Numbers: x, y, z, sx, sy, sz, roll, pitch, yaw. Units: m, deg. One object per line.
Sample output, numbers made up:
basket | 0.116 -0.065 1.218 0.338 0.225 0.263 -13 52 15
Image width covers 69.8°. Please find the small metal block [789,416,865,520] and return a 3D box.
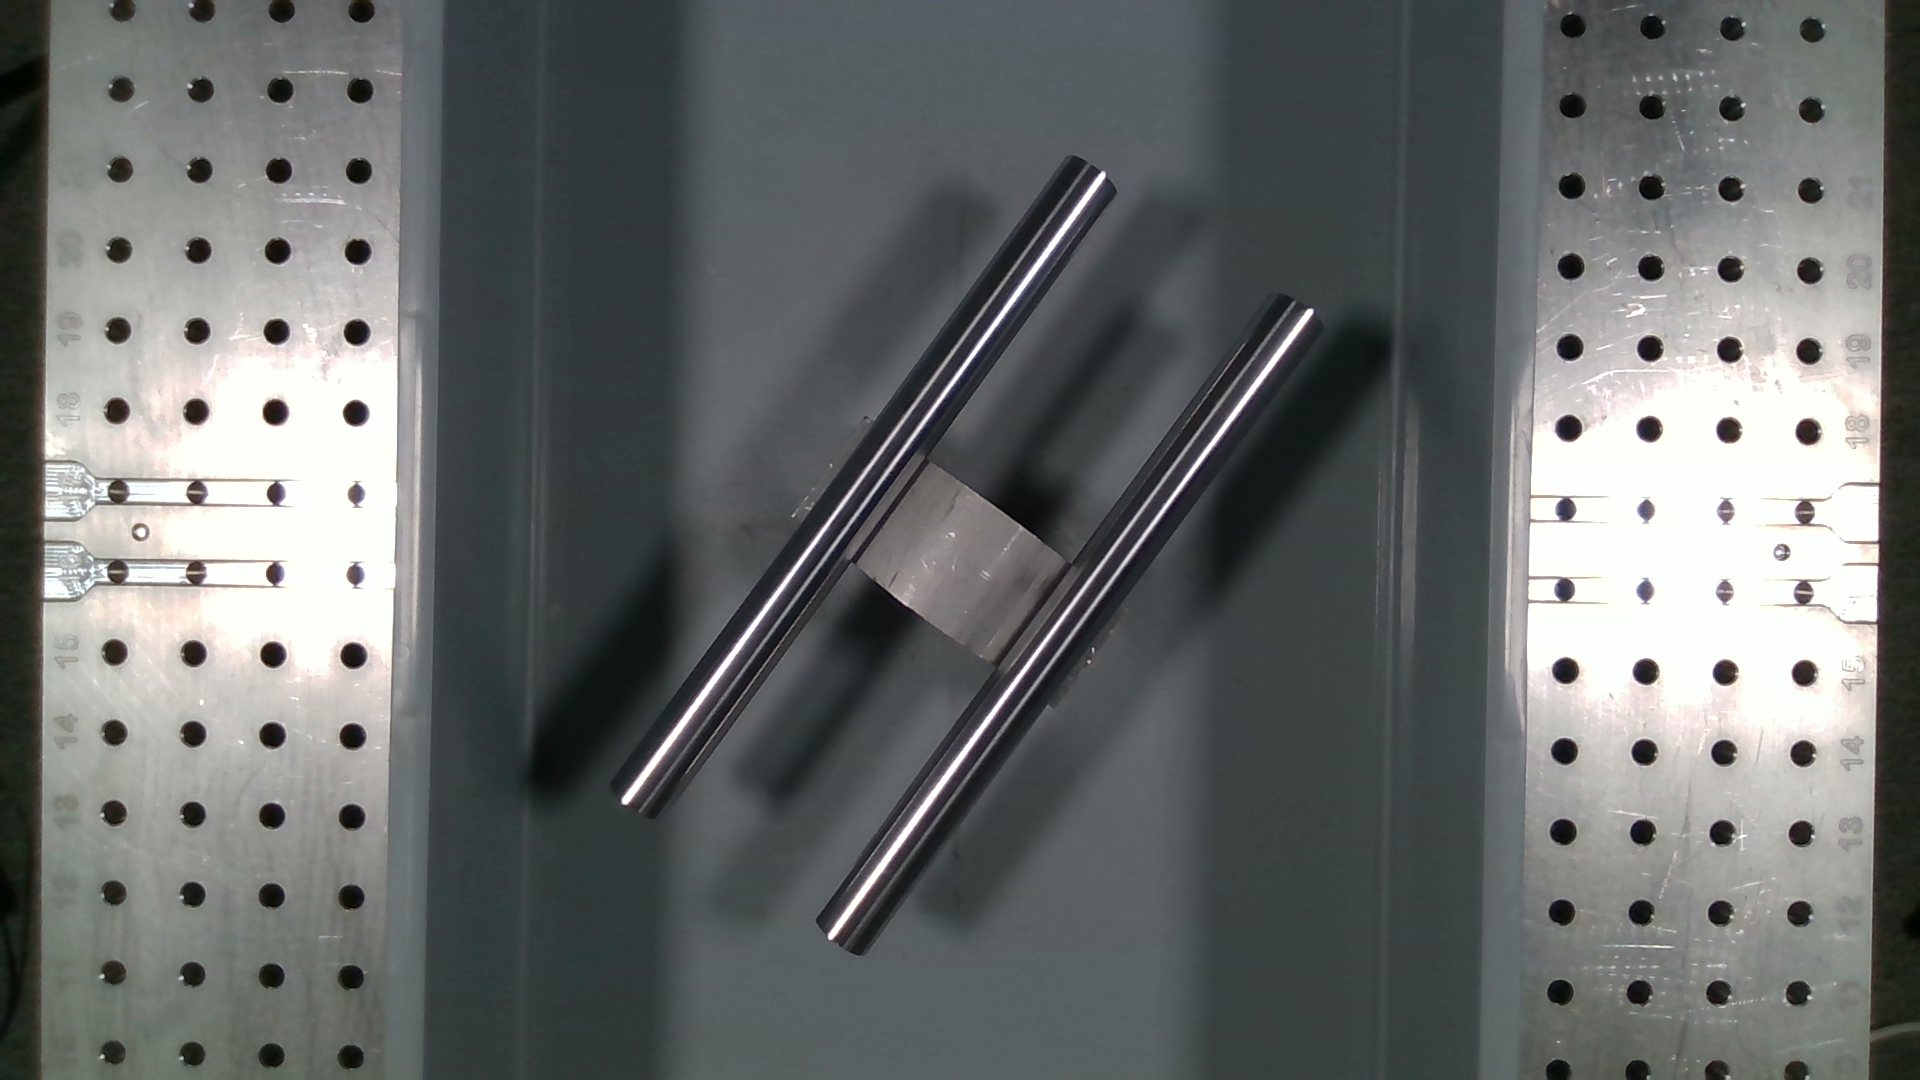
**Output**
small metal block | -0.043 -0.022 0.573 0.025 0.050 0.050 37 90 0

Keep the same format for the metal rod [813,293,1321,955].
metal rod | 0.041 0.033 0.536 0.025 0.025 0.300 36 90 0

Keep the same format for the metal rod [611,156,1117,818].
metal rod | -0.037 -0.021 0.537 0.025 0.025 0.300 36 90 0

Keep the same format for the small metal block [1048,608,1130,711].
small metal block | 0.043 0.041 0.573 0.025 0.050 0.050 37 90 0

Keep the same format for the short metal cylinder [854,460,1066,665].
short metal cylinder | 0.000 0.009 0.558 0.080 0.080 0.050 36 90 0
